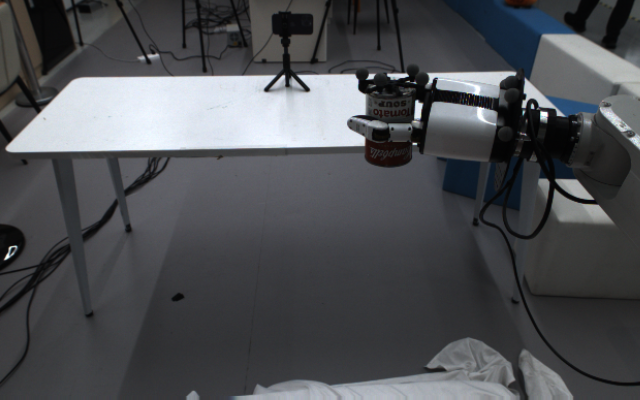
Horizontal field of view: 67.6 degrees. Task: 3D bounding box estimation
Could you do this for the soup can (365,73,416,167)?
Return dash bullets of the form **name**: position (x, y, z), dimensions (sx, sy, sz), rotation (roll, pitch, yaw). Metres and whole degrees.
- **soup can**: position (0.096, -0.105, 0.662), dimensions (0.067, 0.101, 0.067), rotation (-2, 33, 1)
